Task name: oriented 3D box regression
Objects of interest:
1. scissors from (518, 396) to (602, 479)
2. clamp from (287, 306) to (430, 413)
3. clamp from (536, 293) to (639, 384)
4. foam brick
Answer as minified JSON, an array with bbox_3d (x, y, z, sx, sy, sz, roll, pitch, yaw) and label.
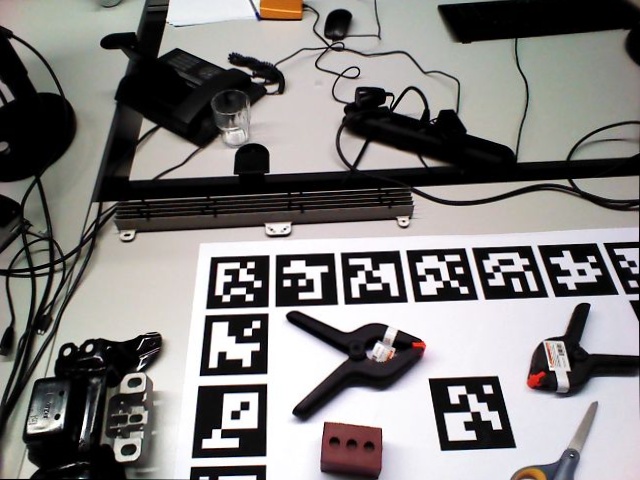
[{"bbox_3d":[0.329,0.281,0.676,0.088,0.016,0.201,35,61,14],"label":"scissors"},{"bbox_3d":[0.059,0.162,0.757,0.203,0.037,0.164,-5,52,-3],"label":"clamp"},{"bbox_3d":[0.386,0.159,0.757,0.164,0.037,0.122,-26,65,-15],"label":"clamp"},{"bbox_3d":[0.047,0.270,0.675,0.078,0.051,0.052,2,56,8],"label":"foam brick"}]
